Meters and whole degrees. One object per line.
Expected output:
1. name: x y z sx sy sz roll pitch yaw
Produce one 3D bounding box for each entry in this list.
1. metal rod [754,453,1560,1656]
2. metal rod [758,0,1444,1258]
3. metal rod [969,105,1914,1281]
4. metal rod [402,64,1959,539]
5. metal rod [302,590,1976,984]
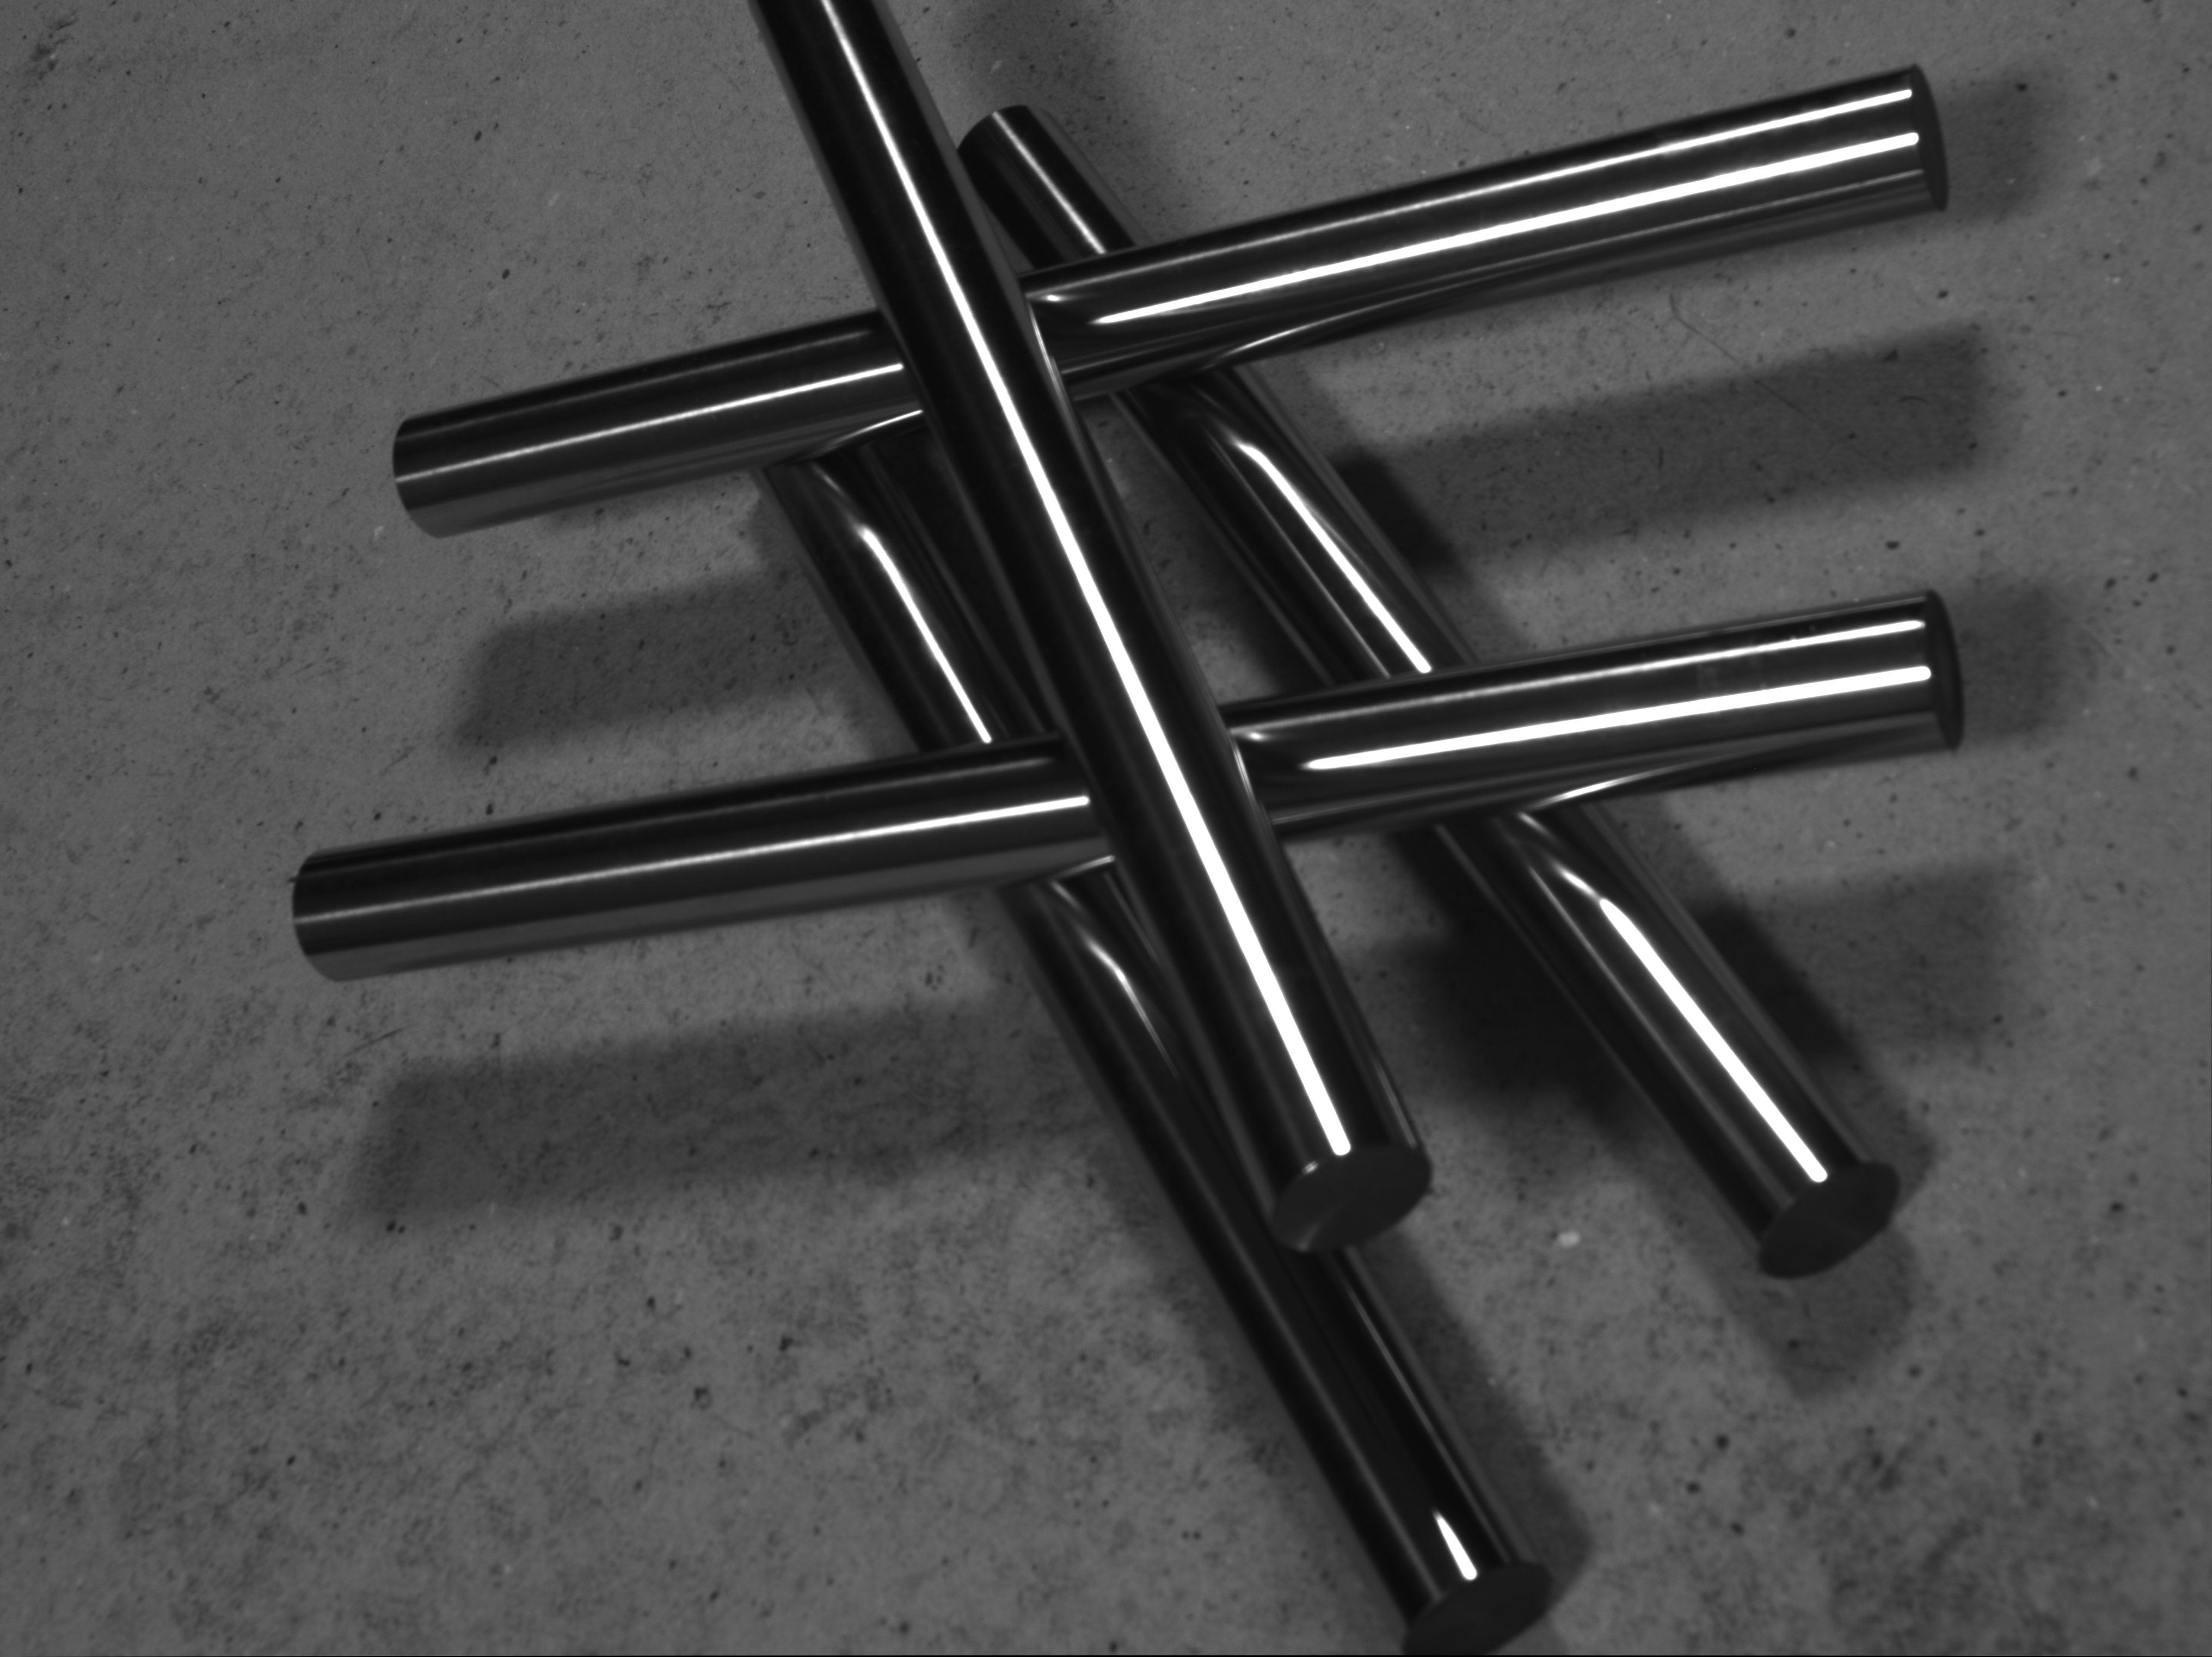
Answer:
1. metal rod: -0.004 0.017 0.635 0.025 0.025 0.299 -35 51 5
2. metal rod: -0.009 -0.055 0.619 0.025 0.025 0.299 -30 52 9
3. metal rod: 0.046 -0.038 0.643 0.025 0.025 0.299 -37 51 4
4. metal rod: 0.003 -0.092 0.668 0.299 0.025 0.025 -9 57 23
5. metal rod: -0.006 -0.004 0.618 0.299 0.025 0.025 -8 58 24
